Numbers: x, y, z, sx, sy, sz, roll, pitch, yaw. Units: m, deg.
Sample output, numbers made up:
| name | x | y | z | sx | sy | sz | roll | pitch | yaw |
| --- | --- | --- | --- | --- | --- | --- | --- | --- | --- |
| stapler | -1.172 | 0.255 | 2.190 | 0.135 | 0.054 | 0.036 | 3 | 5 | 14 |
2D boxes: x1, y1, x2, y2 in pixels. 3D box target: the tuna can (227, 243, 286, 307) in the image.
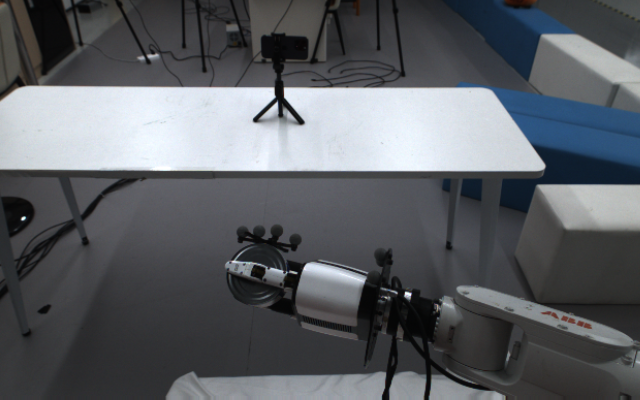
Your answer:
| name | x | y | z | sx | sy | sz | roll | pitch | yaw |
| --- | --- | --- | --- | --- | --- | --- | --- | --- | --- |
| tuna can | -0.083 | 0.105 | 0.674 | 0.085 | 0.034 | 0.085 | -3 | 69 | 8 |
